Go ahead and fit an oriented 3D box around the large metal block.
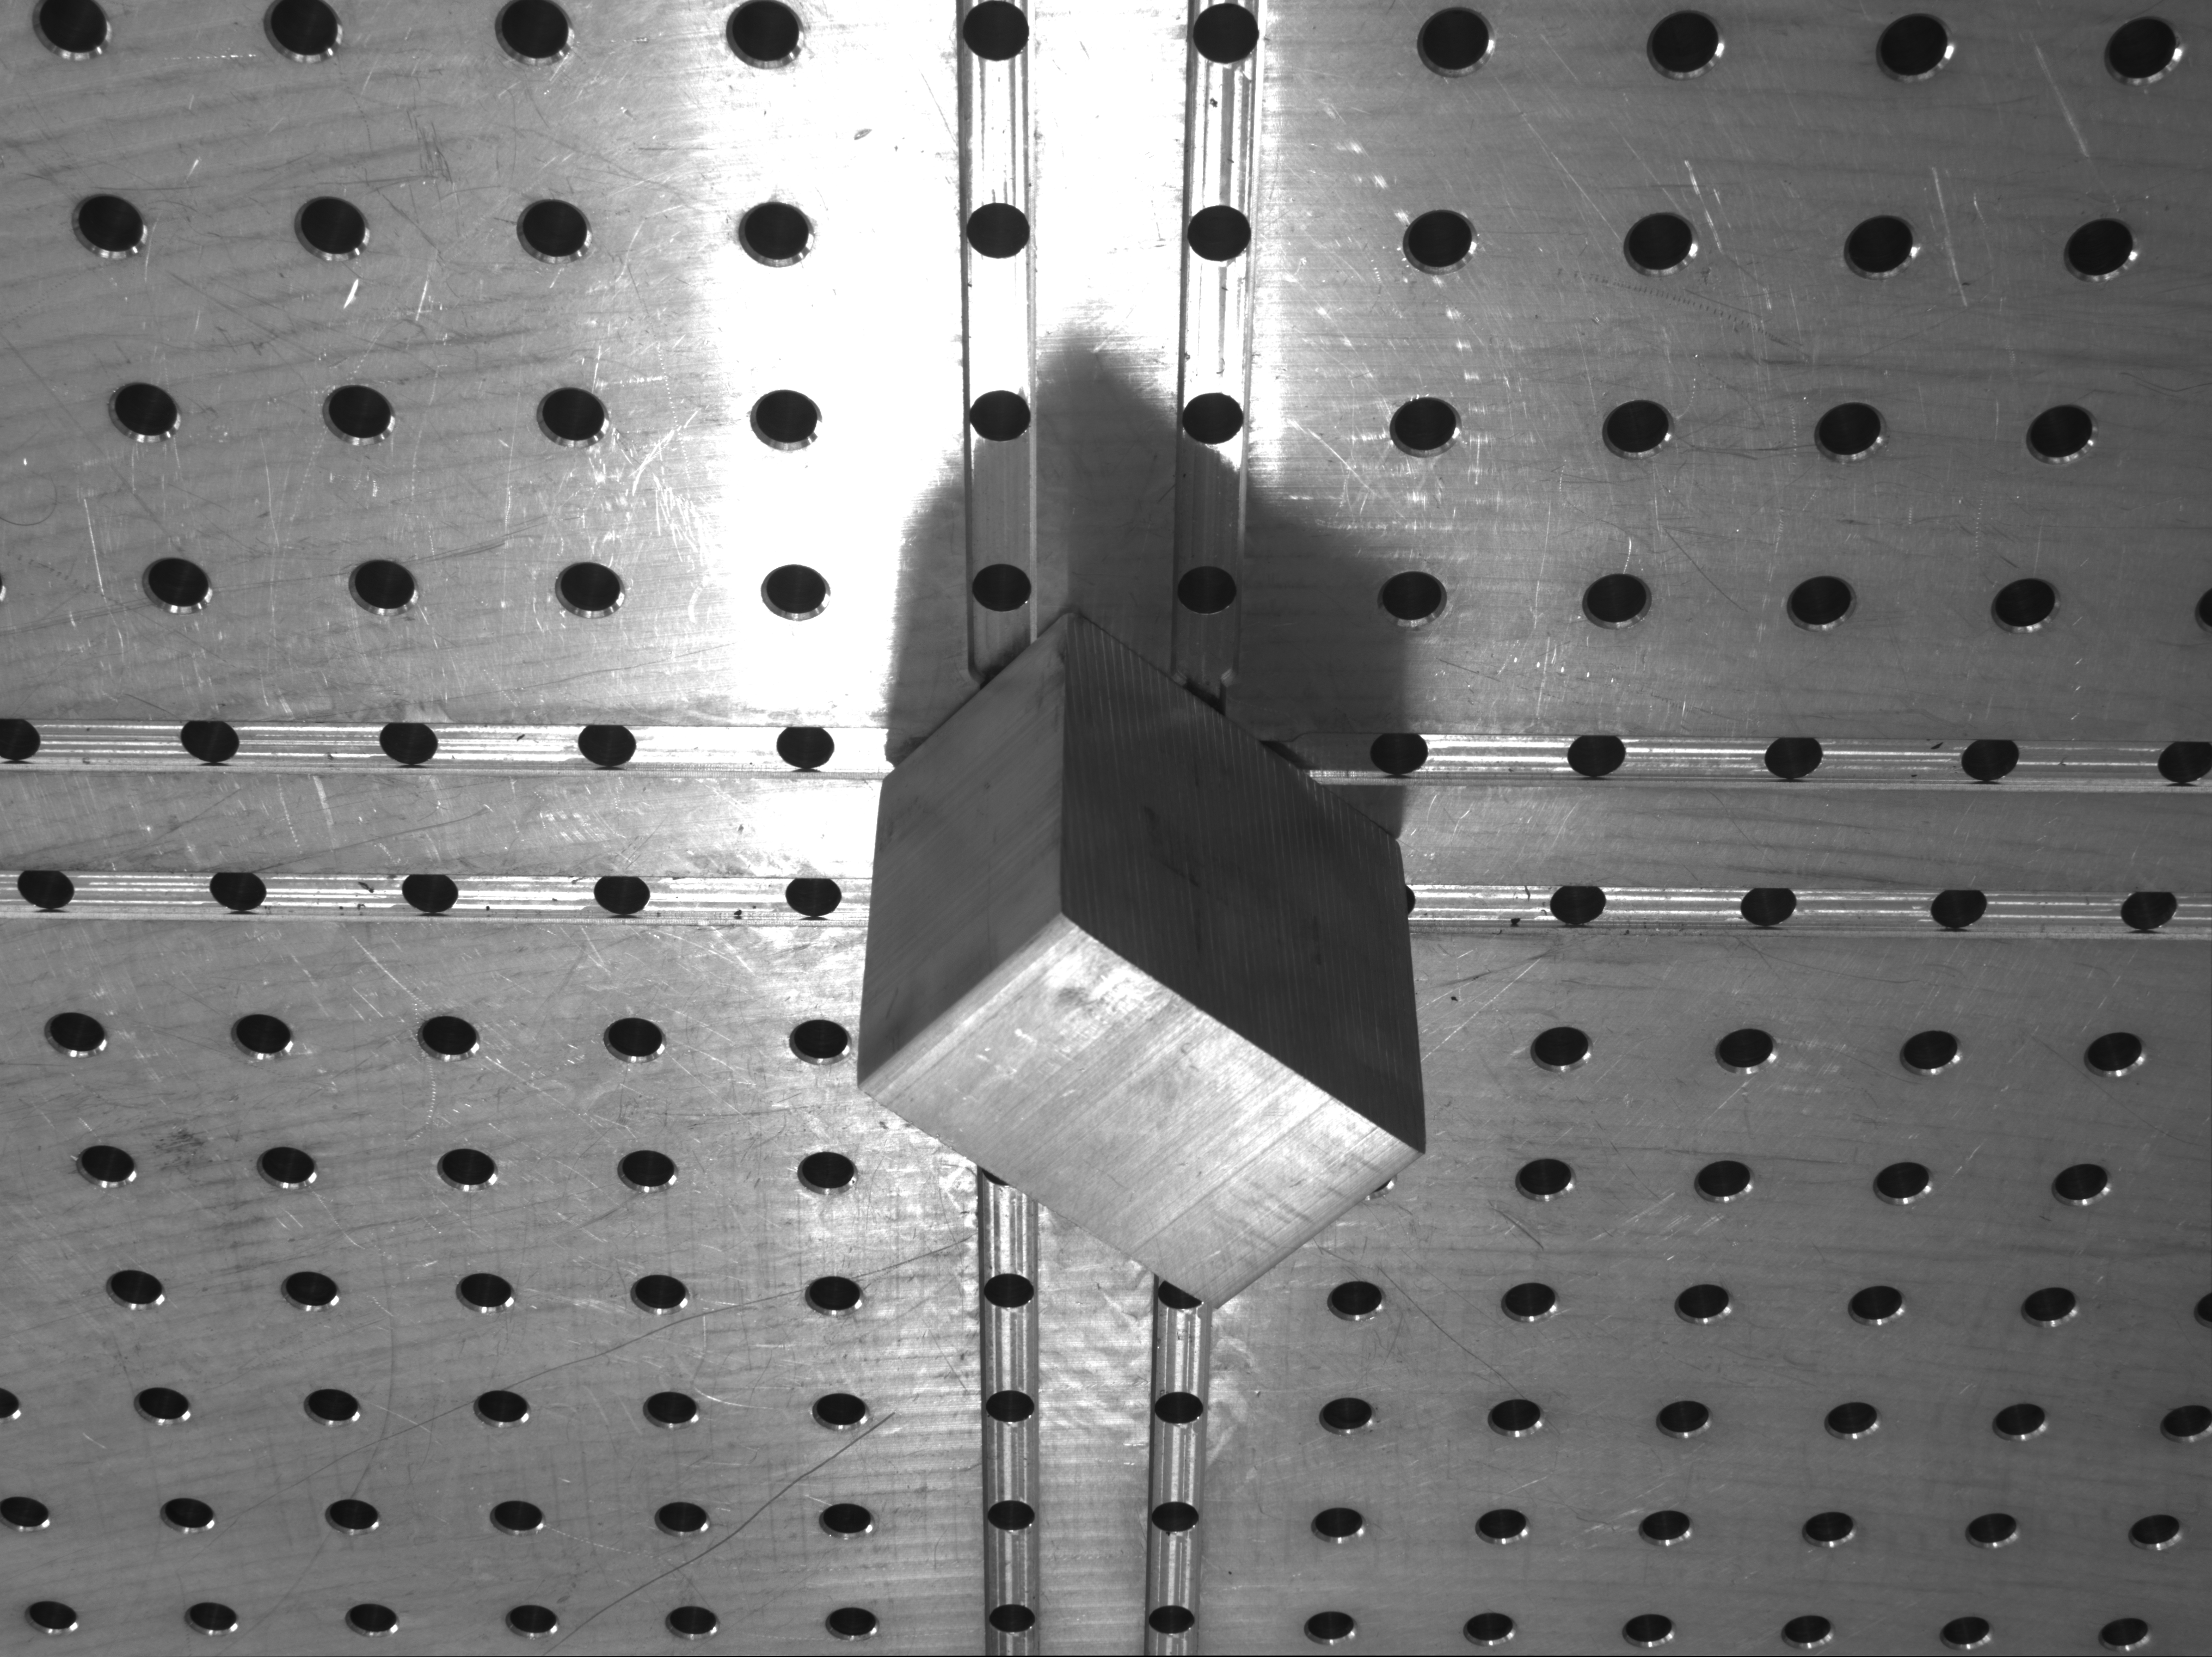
[{"bbox_3d":[0.006,0.022,0.625,0.080,0.080,0.050,34,123,-25],"label":"large metal block"}]
